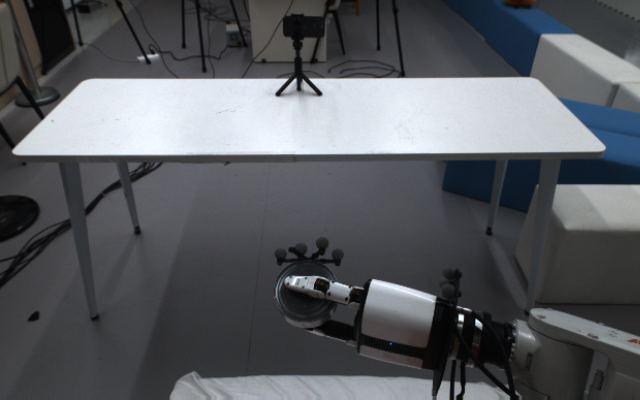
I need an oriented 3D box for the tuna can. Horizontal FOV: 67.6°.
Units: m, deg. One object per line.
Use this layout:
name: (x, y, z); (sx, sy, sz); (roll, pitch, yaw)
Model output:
tuna can: (-0.016, 0.130, 0.642); (0.085, 0.034, 0.085); (-1, 59, 2)
